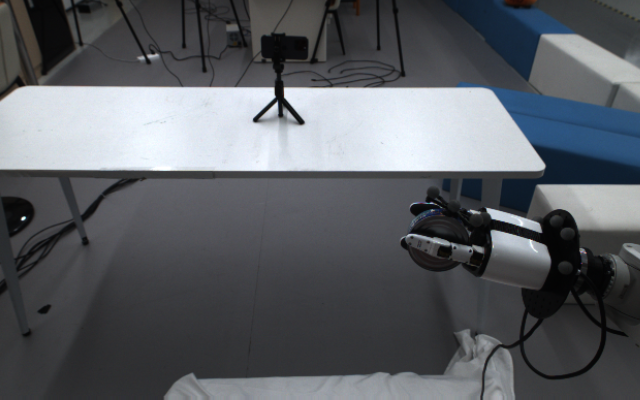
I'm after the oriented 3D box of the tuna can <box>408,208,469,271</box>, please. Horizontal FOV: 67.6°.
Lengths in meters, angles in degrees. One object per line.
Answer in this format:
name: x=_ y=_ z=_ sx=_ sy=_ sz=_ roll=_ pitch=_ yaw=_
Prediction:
tuna can: x=0.169 y=0.055 z=0.690 sx=0.085 sy=0.085 sz=0.034 roll=7 pitch=17 yaw=7
